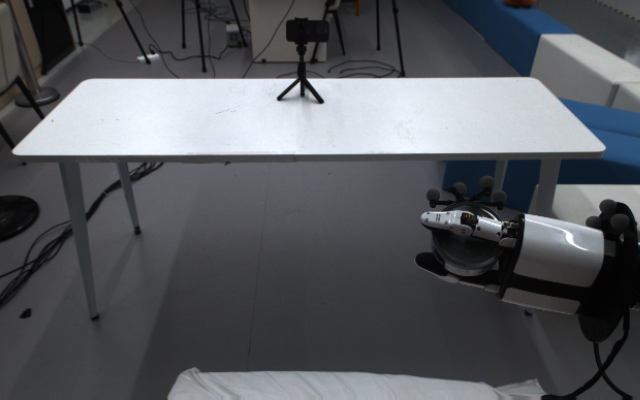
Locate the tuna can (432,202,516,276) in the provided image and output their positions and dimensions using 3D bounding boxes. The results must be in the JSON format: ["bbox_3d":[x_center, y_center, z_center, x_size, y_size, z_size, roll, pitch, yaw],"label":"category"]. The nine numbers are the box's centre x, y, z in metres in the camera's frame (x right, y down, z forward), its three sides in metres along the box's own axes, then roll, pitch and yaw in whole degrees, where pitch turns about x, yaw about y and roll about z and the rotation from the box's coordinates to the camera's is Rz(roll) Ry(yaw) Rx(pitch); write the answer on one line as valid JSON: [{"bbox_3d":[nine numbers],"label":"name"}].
[{"bbox_3d":[0.178,0.045,0.583,0.085,0.034,0.085,-4,61,7],"label":"tuna can"}]
